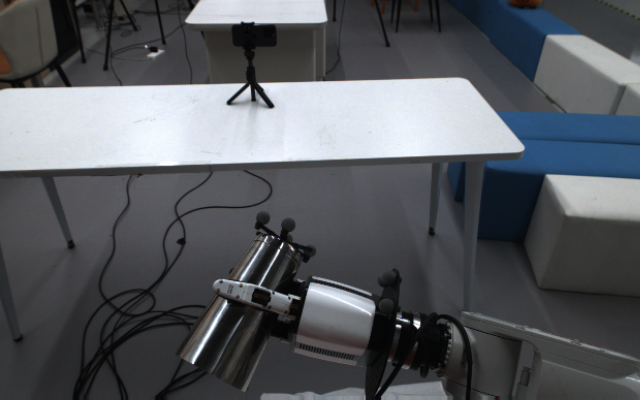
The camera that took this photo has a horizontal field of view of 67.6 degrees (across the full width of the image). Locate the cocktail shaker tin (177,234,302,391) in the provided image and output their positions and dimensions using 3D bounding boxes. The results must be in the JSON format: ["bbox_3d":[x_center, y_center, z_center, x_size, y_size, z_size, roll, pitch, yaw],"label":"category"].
[{"bbox_3d":[-0.086,0.128,0.585,0.093,0.093,0.170,18,66,21],"label":"cocktail shaker tin"}]
